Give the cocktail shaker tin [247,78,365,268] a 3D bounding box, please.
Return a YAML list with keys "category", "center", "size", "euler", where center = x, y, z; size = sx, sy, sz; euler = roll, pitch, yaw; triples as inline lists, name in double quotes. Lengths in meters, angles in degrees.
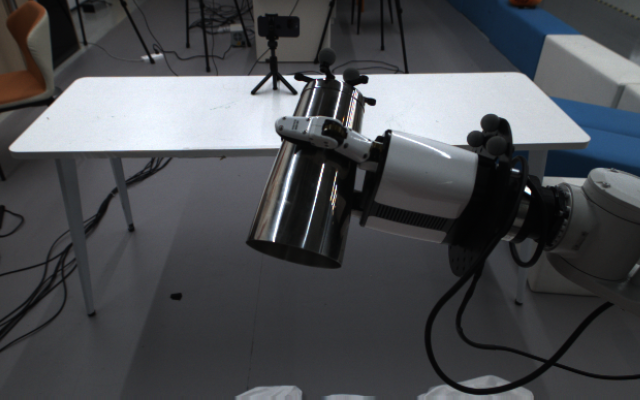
- category: "cocktail shaker tin"
  center: [-0.005, -0.027, 0.472]
  size: [0.093, 0.093, 0.170]
  euler: [11, 73, 12]
